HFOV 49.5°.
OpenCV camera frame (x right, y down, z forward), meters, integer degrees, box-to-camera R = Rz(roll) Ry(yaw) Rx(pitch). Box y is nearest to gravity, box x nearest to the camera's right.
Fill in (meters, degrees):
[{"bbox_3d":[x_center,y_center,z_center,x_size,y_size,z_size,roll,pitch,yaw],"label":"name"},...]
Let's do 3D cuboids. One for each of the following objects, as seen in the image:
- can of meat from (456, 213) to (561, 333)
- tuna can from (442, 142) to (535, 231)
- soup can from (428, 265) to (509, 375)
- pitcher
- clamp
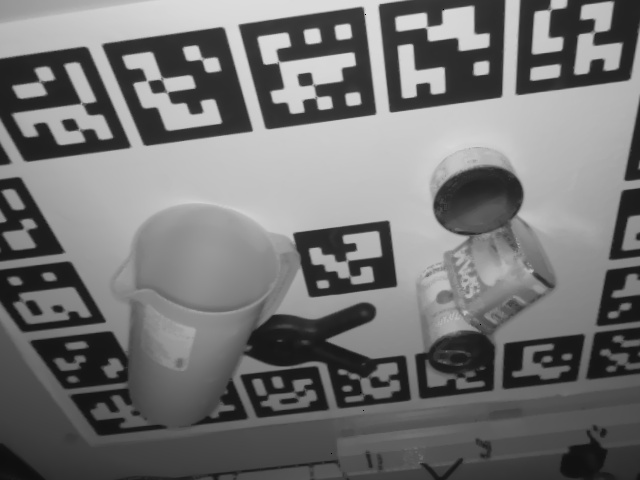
[{"bbox_3d":[0.194,0.030,0.700,0.083,0.102,0.058,-39,119,23],"label":"can of meat"},{"bbox_3d":[0.163,-0.053,0.679,0.086,0.034,0.085,-1,128,0],"label":"tuna can"},{"bbox_3d":[0.158,0.084,0.749,0.068,0.103,0.067,-2,127,-2],"label":"soup can"},{"bbox_3d":[-0.117,0.089,0.718,0.191,0.133,0.239,-6,141,-25],"label":"pitcher"},{"bbox_3d":[0.011,0.120,0.828,0.165,0.037,0.121,-3,134,6],"label":"clamp"}]
